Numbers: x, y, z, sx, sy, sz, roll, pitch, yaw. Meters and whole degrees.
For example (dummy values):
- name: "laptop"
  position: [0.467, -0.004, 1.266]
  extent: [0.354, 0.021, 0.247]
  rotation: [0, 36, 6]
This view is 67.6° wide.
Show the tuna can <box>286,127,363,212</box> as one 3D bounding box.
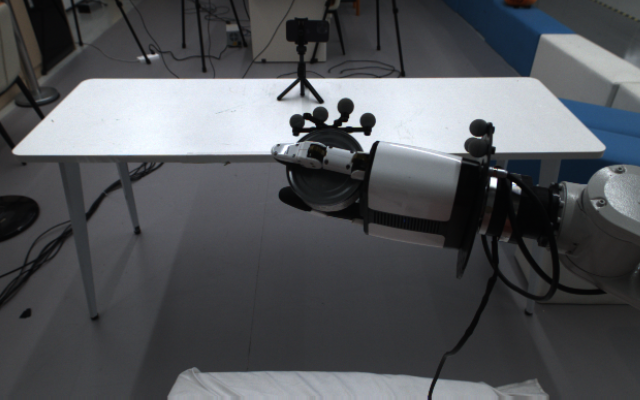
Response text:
- name: "tuna can"
  position: [0.010, -0.032, 0.524]
  extent: [0.085, 0.034, 0.085]
  rotation: [-3, 73, 11]
